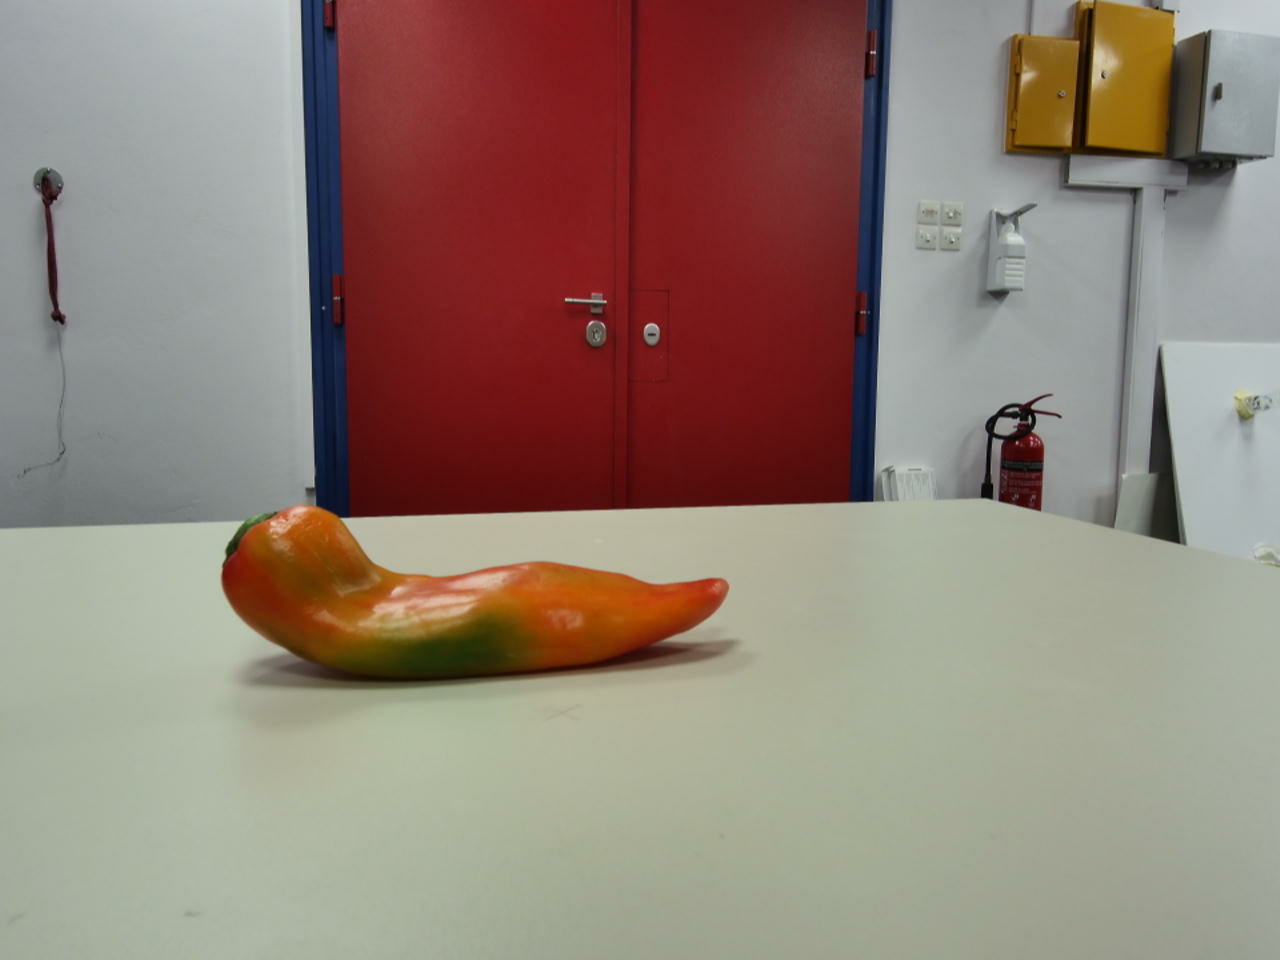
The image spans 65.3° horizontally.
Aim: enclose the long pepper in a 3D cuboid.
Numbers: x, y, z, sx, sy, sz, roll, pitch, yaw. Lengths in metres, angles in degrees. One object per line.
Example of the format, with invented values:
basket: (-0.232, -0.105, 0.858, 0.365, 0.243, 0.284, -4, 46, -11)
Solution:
long pepper: (-0.060, 0.041, 0.397, 0.199, 0.065, 0.066, -1, 4, -8)
